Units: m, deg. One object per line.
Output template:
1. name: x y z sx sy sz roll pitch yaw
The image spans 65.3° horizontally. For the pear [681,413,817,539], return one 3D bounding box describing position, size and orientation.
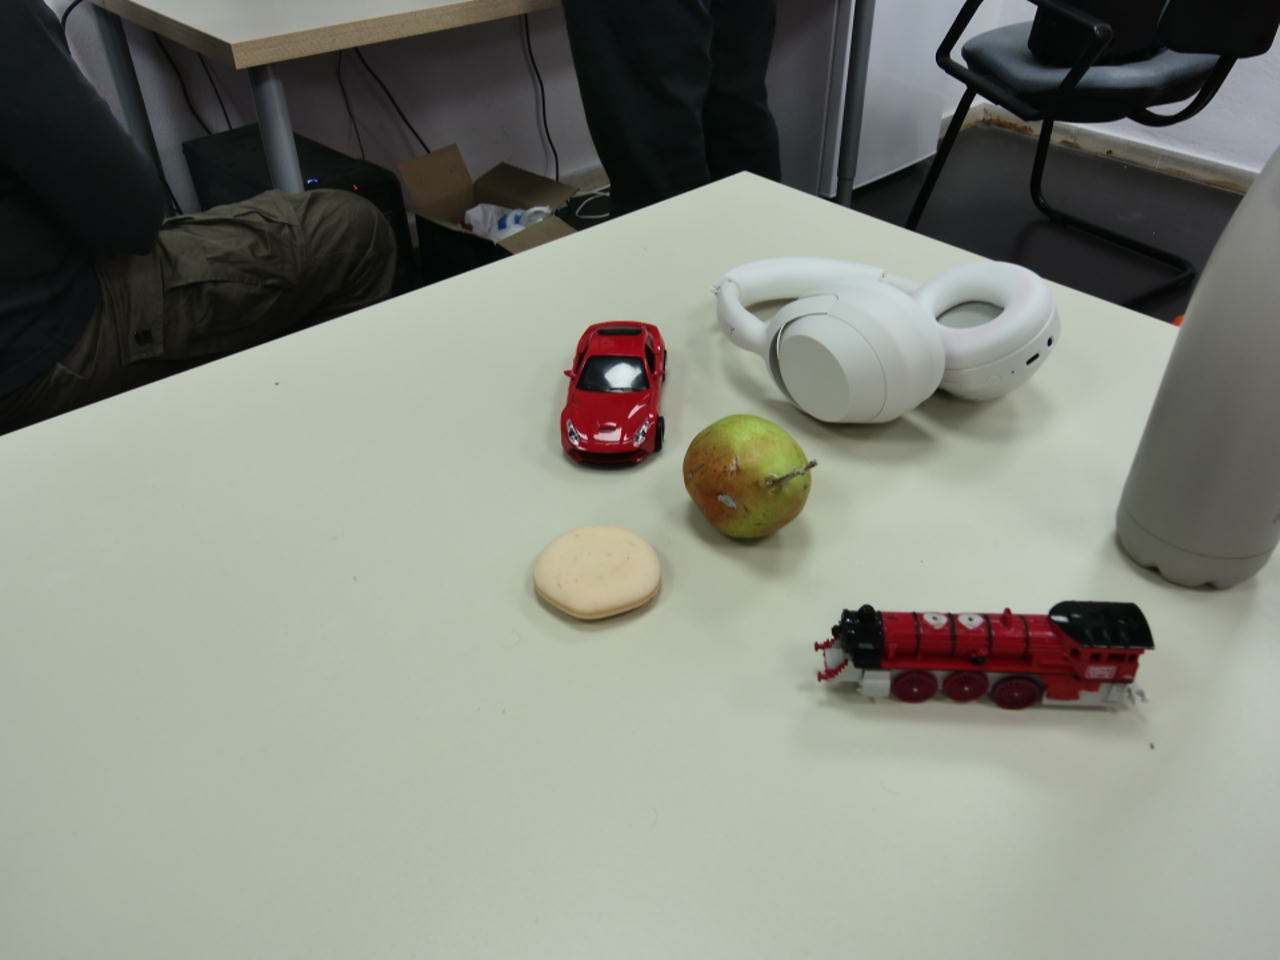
1. pear: 0.055 -0.003 0.521 0.068 0.069 0.070 8 37 9
